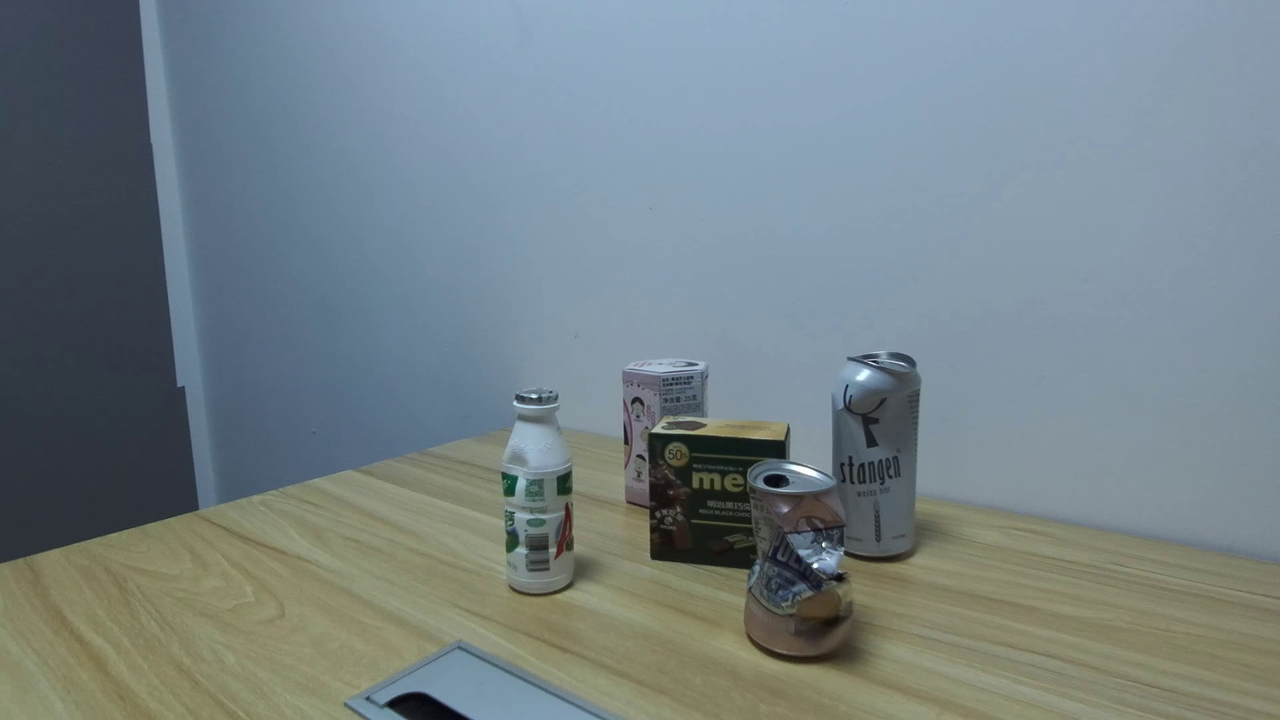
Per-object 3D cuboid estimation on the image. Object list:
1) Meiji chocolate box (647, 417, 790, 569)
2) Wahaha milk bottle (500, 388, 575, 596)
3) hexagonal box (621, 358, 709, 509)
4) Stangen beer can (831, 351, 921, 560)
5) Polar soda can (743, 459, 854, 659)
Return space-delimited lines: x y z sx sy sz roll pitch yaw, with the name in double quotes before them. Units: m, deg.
"Meiji chocolate box" 0.065 0.106 0.568 0.109 0.109 0.056 1 10 16
"Wahaha milk bottle" -0.076 0.101 0.523 0.053 0.136 0.053 0 10 0
"hexagonal box" 0.026 0.072 0.702 0.084 0.136 0.091 1 10 9
"Stangen beer can" 0.191 0.077 0.573 0.065 0.162 0.077 2 10 20
"Polar soda can" 0.097 0.124 0.439 0.074 0.114 0.070 0 13 30
